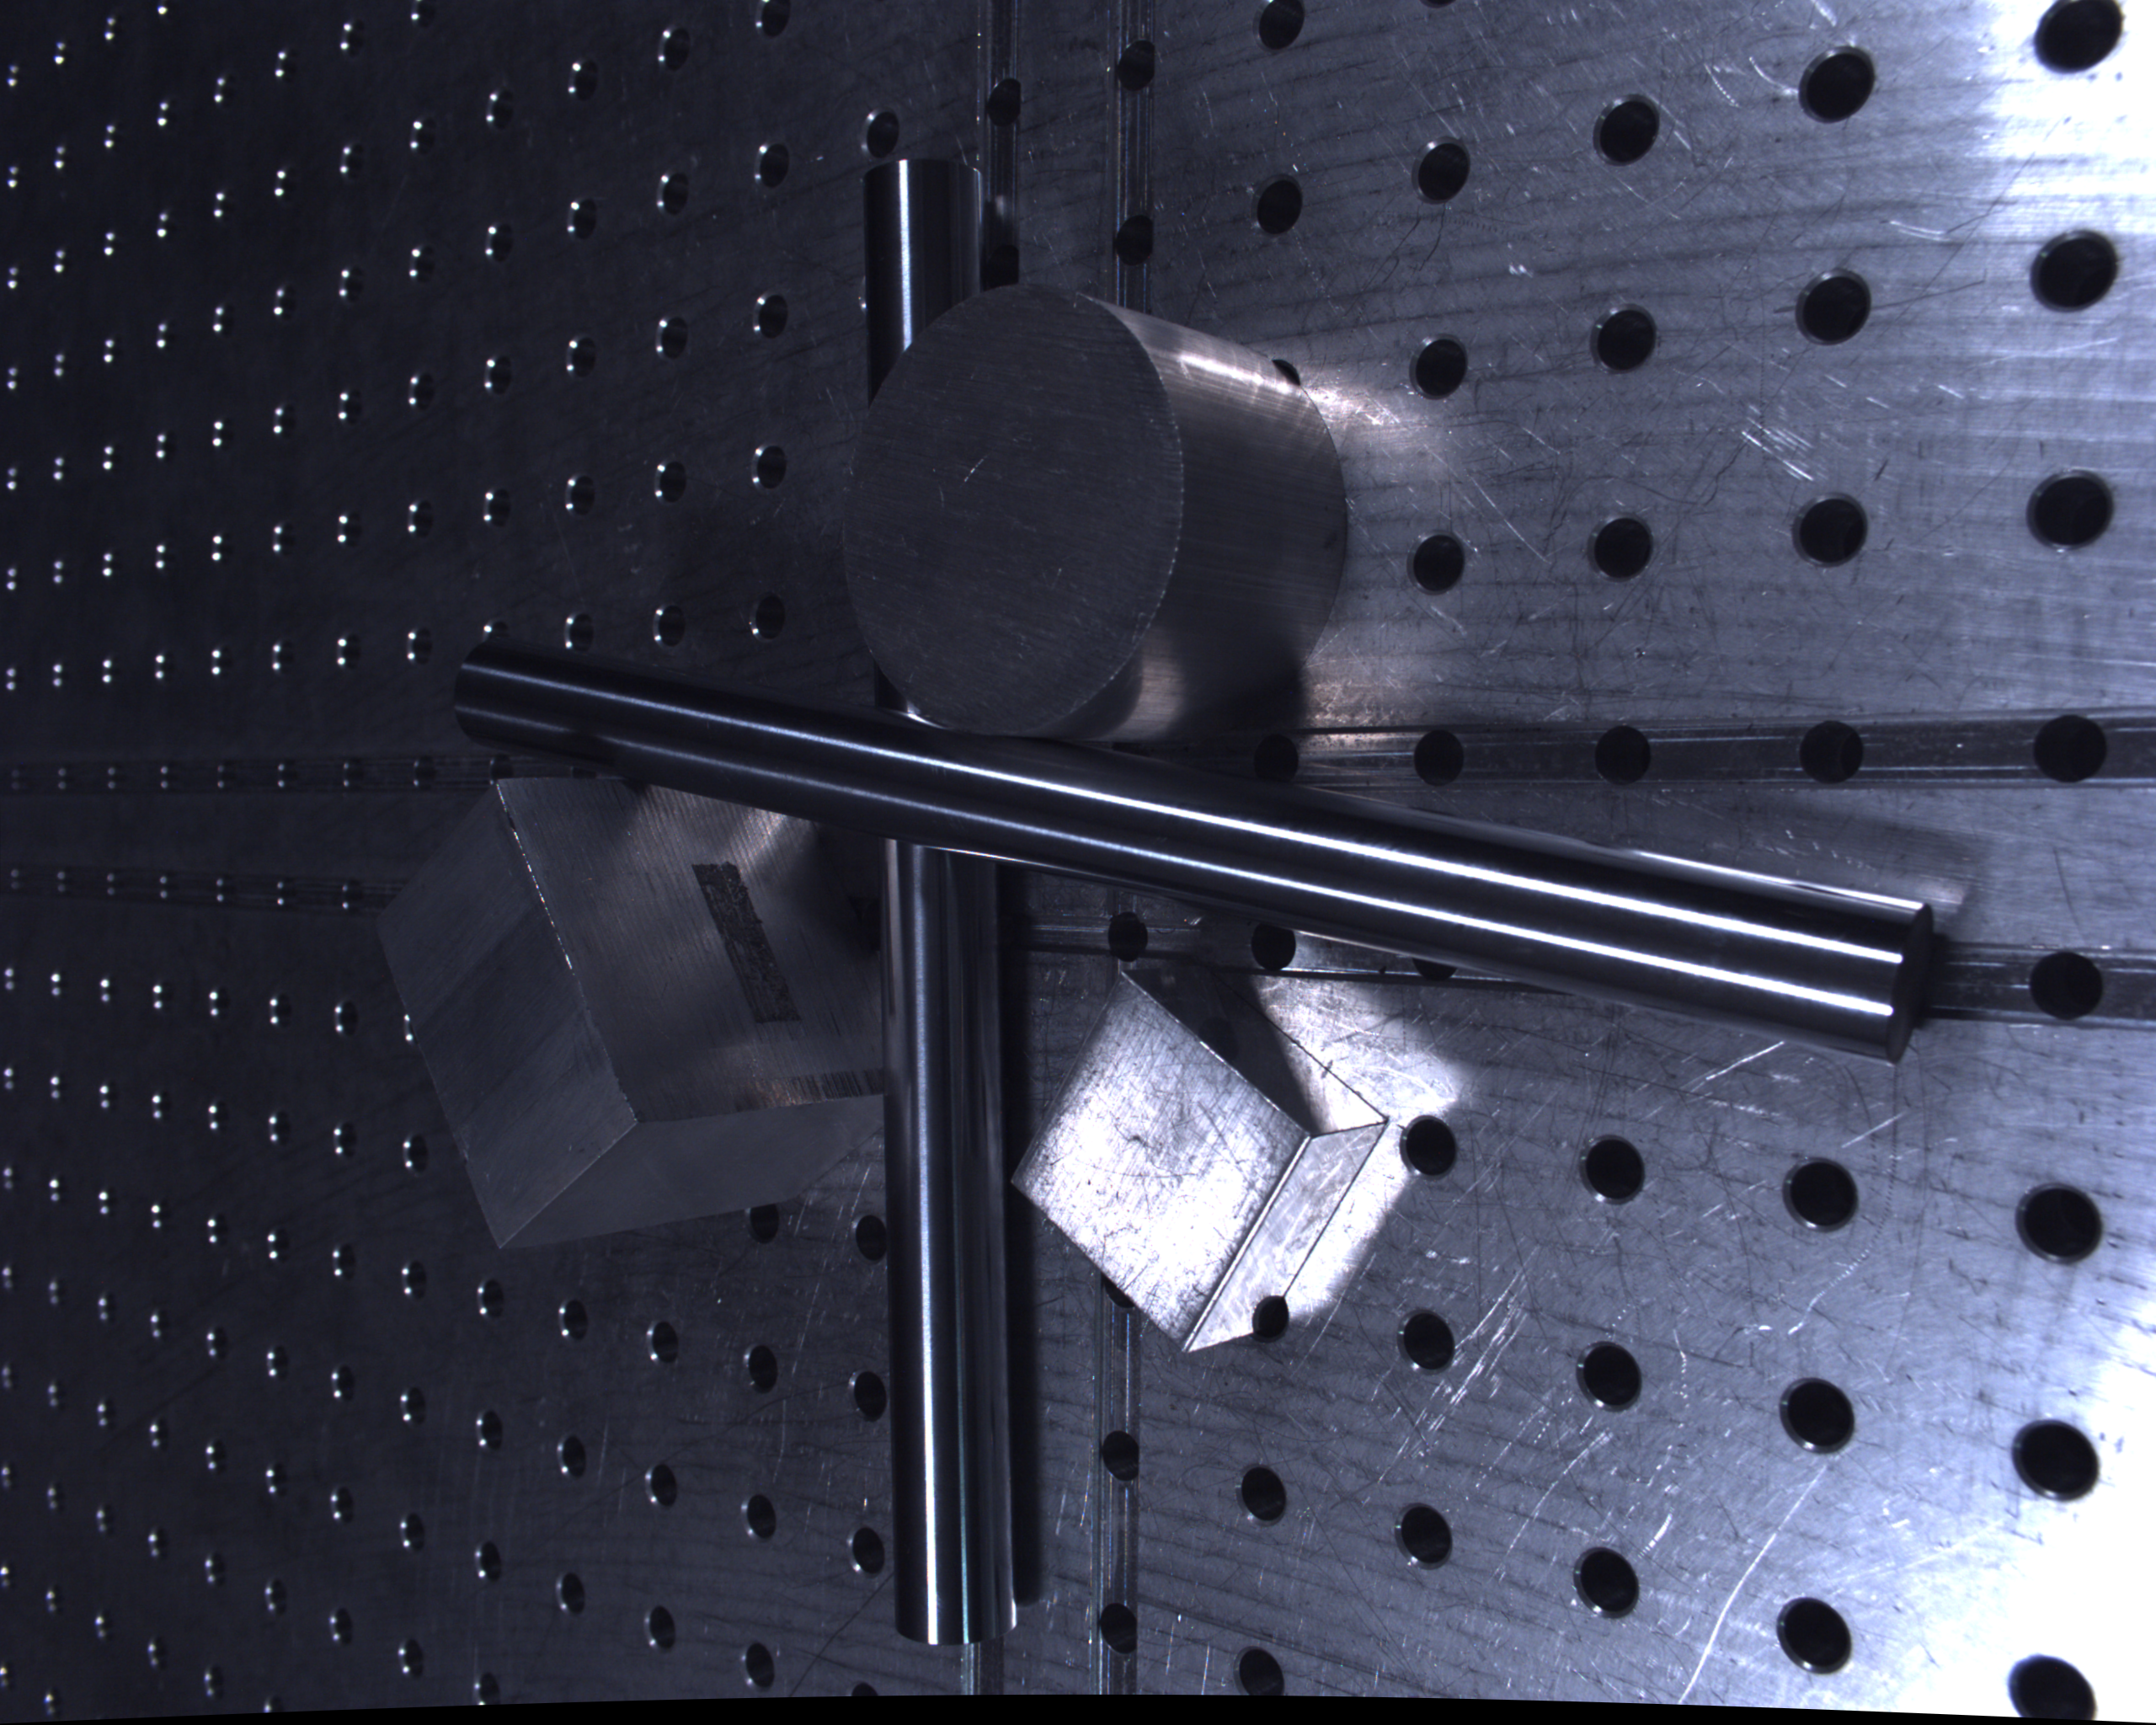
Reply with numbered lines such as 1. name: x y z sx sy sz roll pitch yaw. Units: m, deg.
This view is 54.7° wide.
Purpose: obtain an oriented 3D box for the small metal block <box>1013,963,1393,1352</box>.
1. small metal block: 0.022 0.054 0.390 0.050 0.025 0.050 40 114 32

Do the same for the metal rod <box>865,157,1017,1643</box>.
1. metal rod: -0.028 0.007 0.431 0.025 0.025 0.298 -2 89 39

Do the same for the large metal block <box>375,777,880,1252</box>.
1. large metal block: -0.089 0.030 0.443 0.050 0.081 0.080 -42 65 32

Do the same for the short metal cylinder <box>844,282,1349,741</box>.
1. short metal cylinder: 0.003 -0.063 0.389 0.080 0.050 0.079 0 90 39

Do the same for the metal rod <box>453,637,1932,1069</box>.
1. metal rod: -0.003 -0.010 0.385 0.300 0.025 0.025 13 98 31
